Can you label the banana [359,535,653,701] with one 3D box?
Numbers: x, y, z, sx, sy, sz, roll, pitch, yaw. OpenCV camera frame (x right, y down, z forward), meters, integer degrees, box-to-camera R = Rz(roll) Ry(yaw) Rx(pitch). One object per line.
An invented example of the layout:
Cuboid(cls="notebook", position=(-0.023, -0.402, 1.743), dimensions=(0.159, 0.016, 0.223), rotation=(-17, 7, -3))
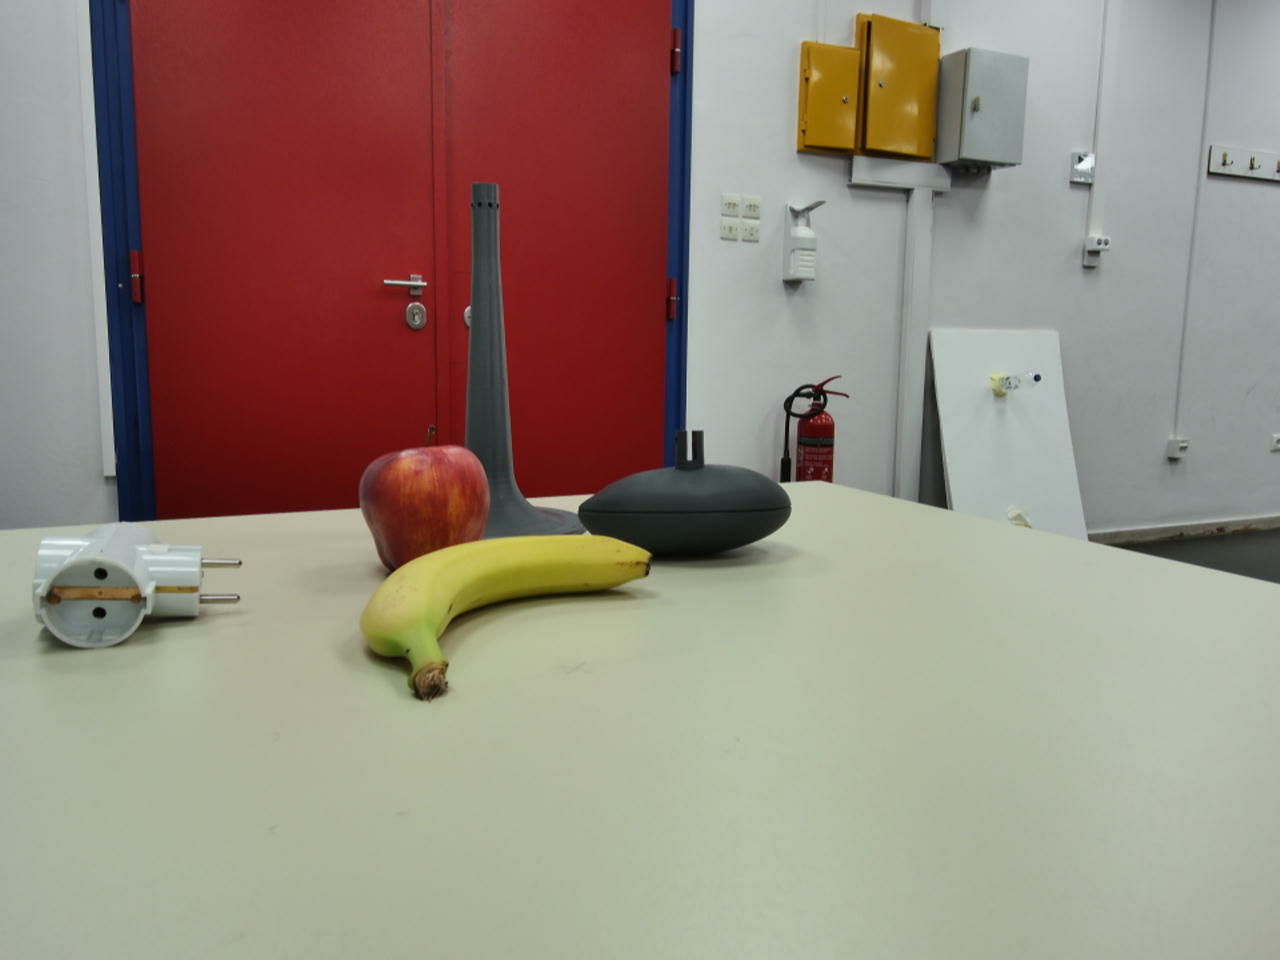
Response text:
Cuboid(cls="banana", position=(-0.076, 0.056, 0.503), dimensions=(0.094, 0.041, 0.196), rotation=(4, 7, 29))
